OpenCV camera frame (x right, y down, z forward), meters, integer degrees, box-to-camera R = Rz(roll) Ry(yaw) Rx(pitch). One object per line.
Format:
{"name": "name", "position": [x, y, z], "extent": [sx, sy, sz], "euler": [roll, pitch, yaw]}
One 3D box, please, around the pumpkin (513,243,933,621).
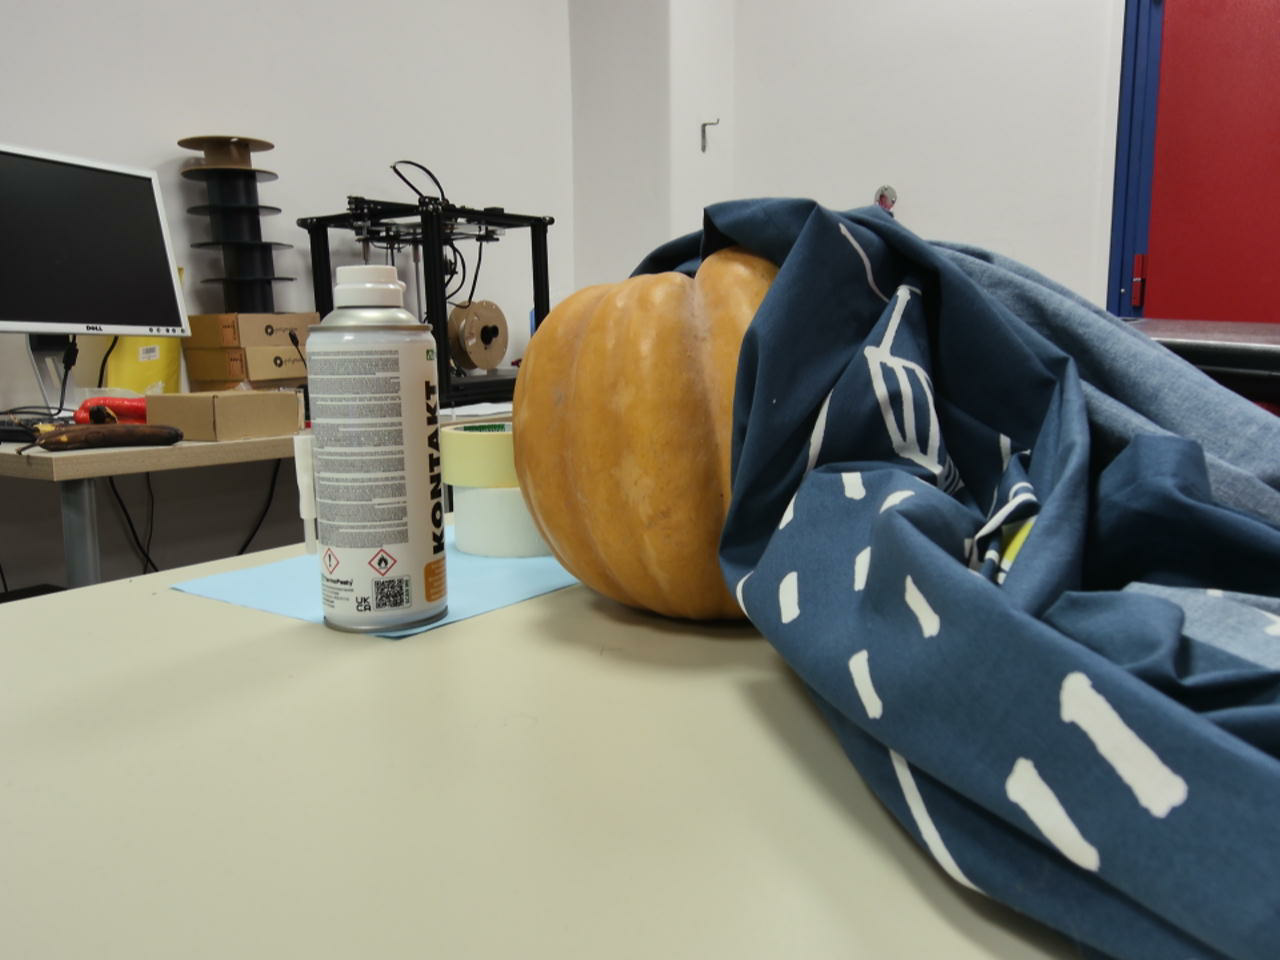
{"name": "pumpkin", "position": [0.043, -0.025, 0.545], "extent": [0.230, 0.194, 0.230], "euler": [1, 6, 0]}
